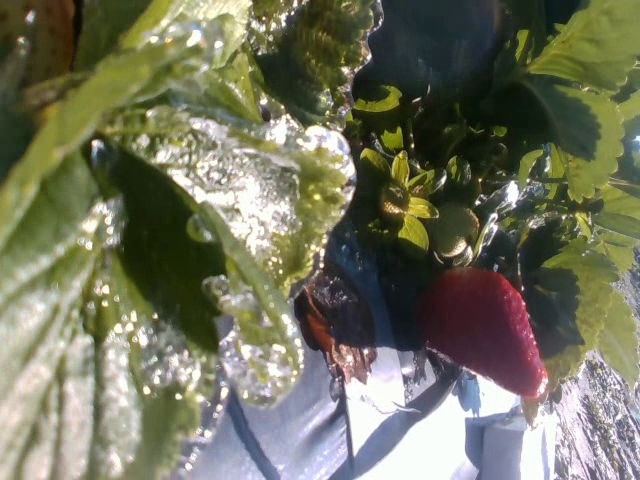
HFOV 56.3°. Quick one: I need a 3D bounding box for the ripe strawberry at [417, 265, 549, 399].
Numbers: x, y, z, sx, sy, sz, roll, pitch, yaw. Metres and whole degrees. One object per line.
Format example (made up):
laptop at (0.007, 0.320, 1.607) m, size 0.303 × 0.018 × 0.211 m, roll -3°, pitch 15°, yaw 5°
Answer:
ripe strawberry at (0.078, 0.049, 0.267) m, size 0.057 × 0.061 × 0.065 m, roll -26°, pitch 42°, yaw -8°
